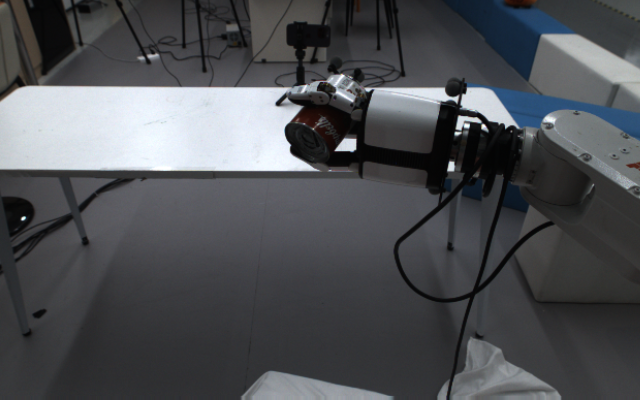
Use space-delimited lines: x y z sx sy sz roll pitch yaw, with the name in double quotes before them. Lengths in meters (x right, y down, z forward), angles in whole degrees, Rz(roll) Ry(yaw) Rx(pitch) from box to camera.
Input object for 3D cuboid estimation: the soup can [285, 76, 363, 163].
"soup can" 0.011 -0.107 0.624 0.067 0.067 0.101 22 61 26
